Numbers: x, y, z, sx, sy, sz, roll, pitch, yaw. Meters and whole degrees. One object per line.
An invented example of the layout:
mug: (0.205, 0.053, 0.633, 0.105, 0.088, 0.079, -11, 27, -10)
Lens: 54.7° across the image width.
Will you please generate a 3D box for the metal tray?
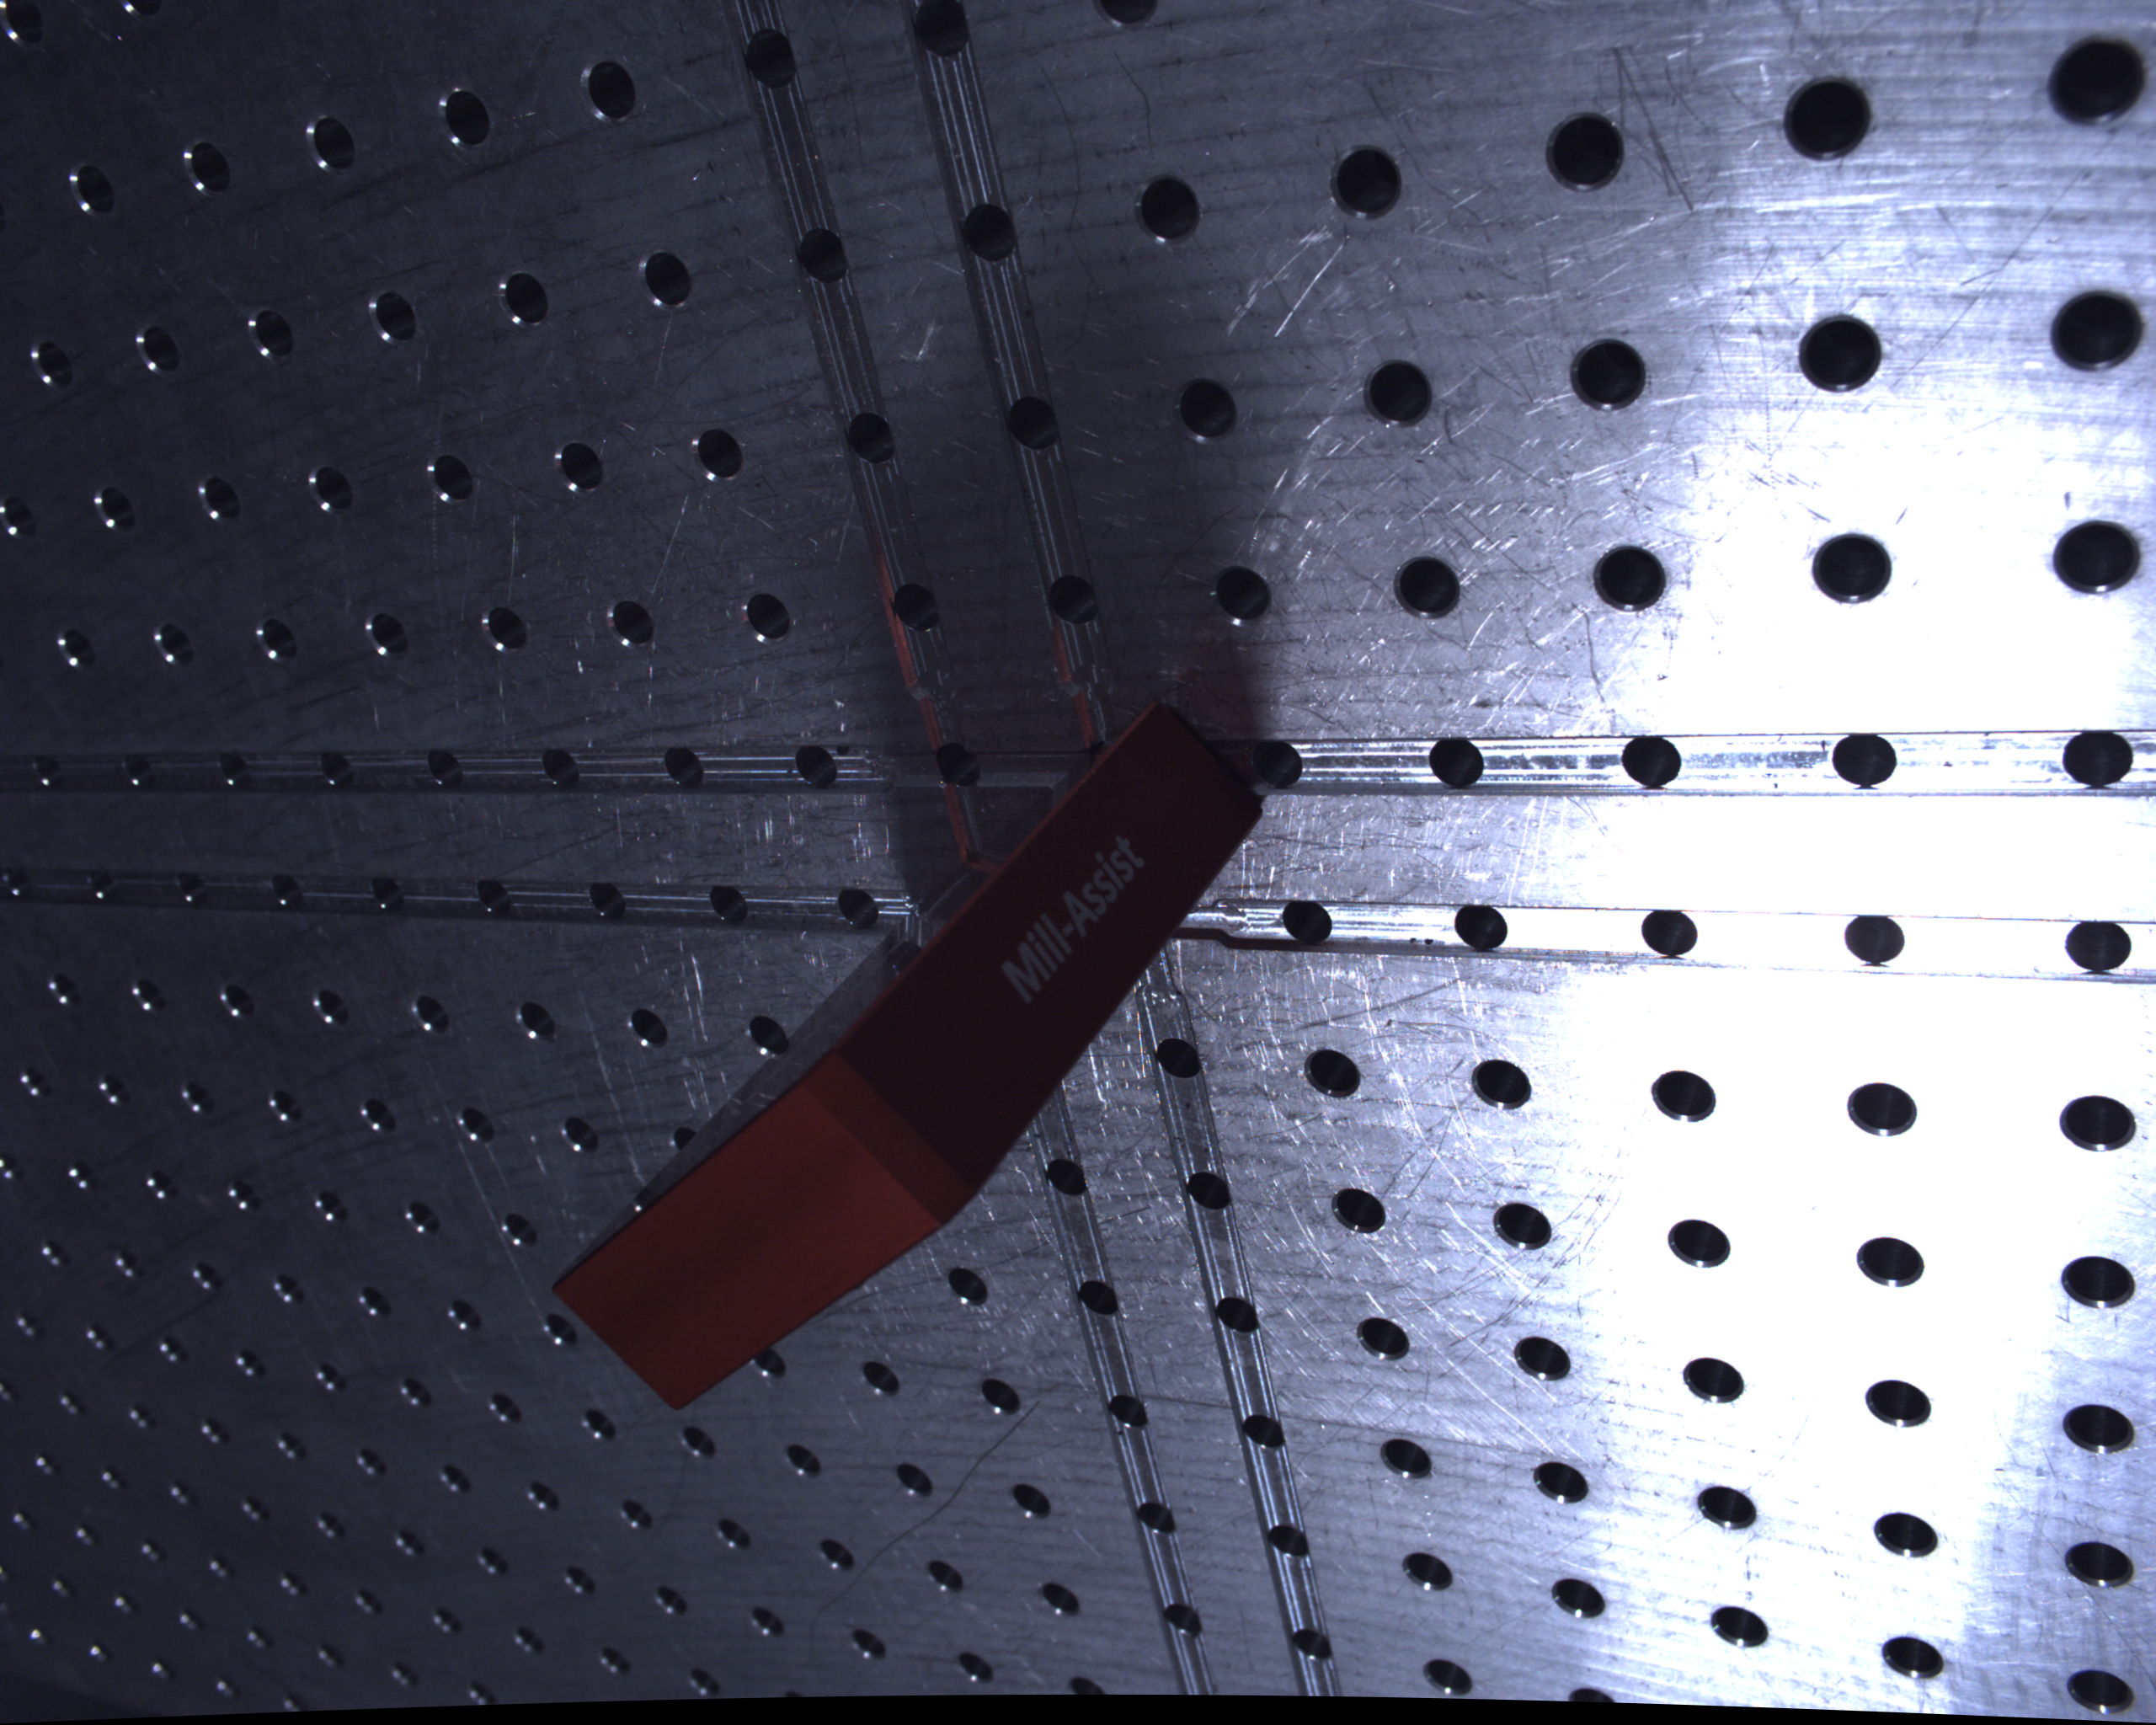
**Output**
metal tray: (-0.027, 0.030, 0.375, 0.030, 0.131, 0.090, 47, 129, -4)
